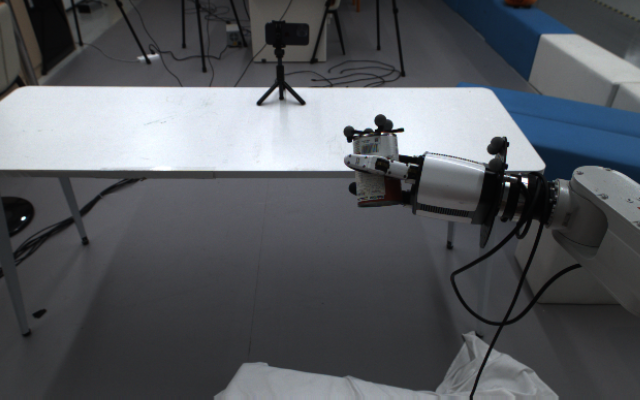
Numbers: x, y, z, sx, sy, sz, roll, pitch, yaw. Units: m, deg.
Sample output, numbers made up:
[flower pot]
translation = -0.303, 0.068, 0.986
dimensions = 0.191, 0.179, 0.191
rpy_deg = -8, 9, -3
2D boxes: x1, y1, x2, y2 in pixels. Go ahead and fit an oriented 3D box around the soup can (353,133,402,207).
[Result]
[soup can]
translation = 0.086, -0.043, 0.714
dimensions = 0.067, 0.101, 0.067
rpy_deg = -5, -5, 0
